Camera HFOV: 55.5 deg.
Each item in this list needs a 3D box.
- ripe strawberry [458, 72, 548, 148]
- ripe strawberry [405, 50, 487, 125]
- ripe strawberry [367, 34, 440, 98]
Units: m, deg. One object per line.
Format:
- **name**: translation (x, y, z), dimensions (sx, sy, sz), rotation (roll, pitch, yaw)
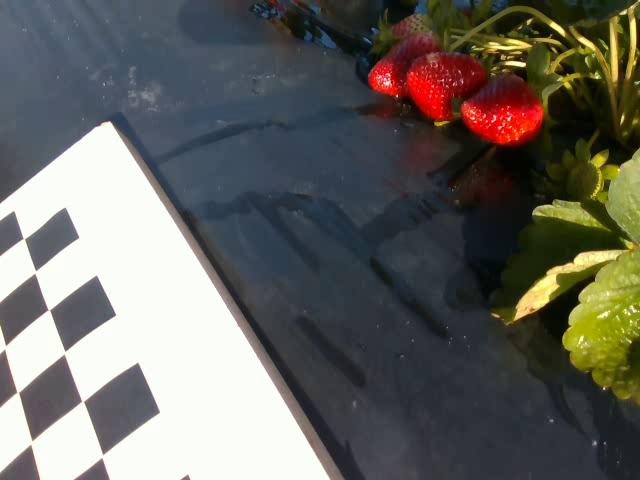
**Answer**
- **ripe strawberry**: translation (0.071, -0.054, 0.255), dimensions (0.041, 0.034, 0.035), rotation (-3, 35, -42)
- **ripe strawberry**: translation (0.055, -0.073, 0.270), dimensions (0.039, 0.031, 0.037), rotation (18, -57, -43)
- **ripe strawberry**: translation (0.041, -0.086, 0.293), dimensions (0.045, 0.023, 0.032), rotation (-30, 50, -14)
